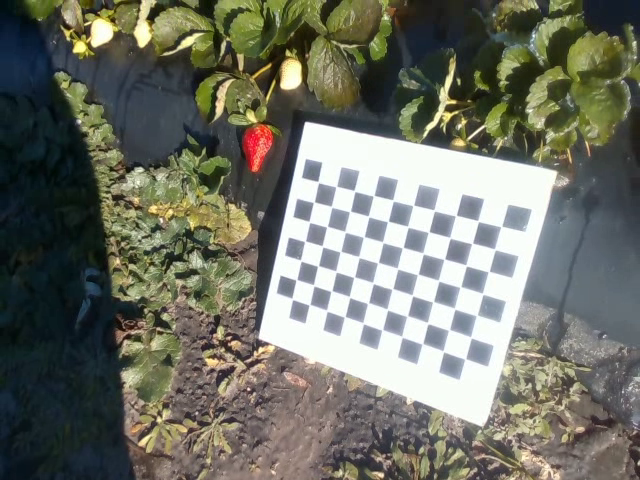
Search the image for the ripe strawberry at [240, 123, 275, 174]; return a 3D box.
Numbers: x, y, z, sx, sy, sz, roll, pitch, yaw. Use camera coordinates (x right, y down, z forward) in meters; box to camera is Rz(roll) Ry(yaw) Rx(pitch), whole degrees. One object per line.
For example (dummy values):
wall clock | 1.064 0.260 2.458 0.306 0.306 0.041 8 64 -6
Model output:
ripe strawberry | -0.079 -0.111 0.780 0.048 0.069 0.040 -4 -7 28
